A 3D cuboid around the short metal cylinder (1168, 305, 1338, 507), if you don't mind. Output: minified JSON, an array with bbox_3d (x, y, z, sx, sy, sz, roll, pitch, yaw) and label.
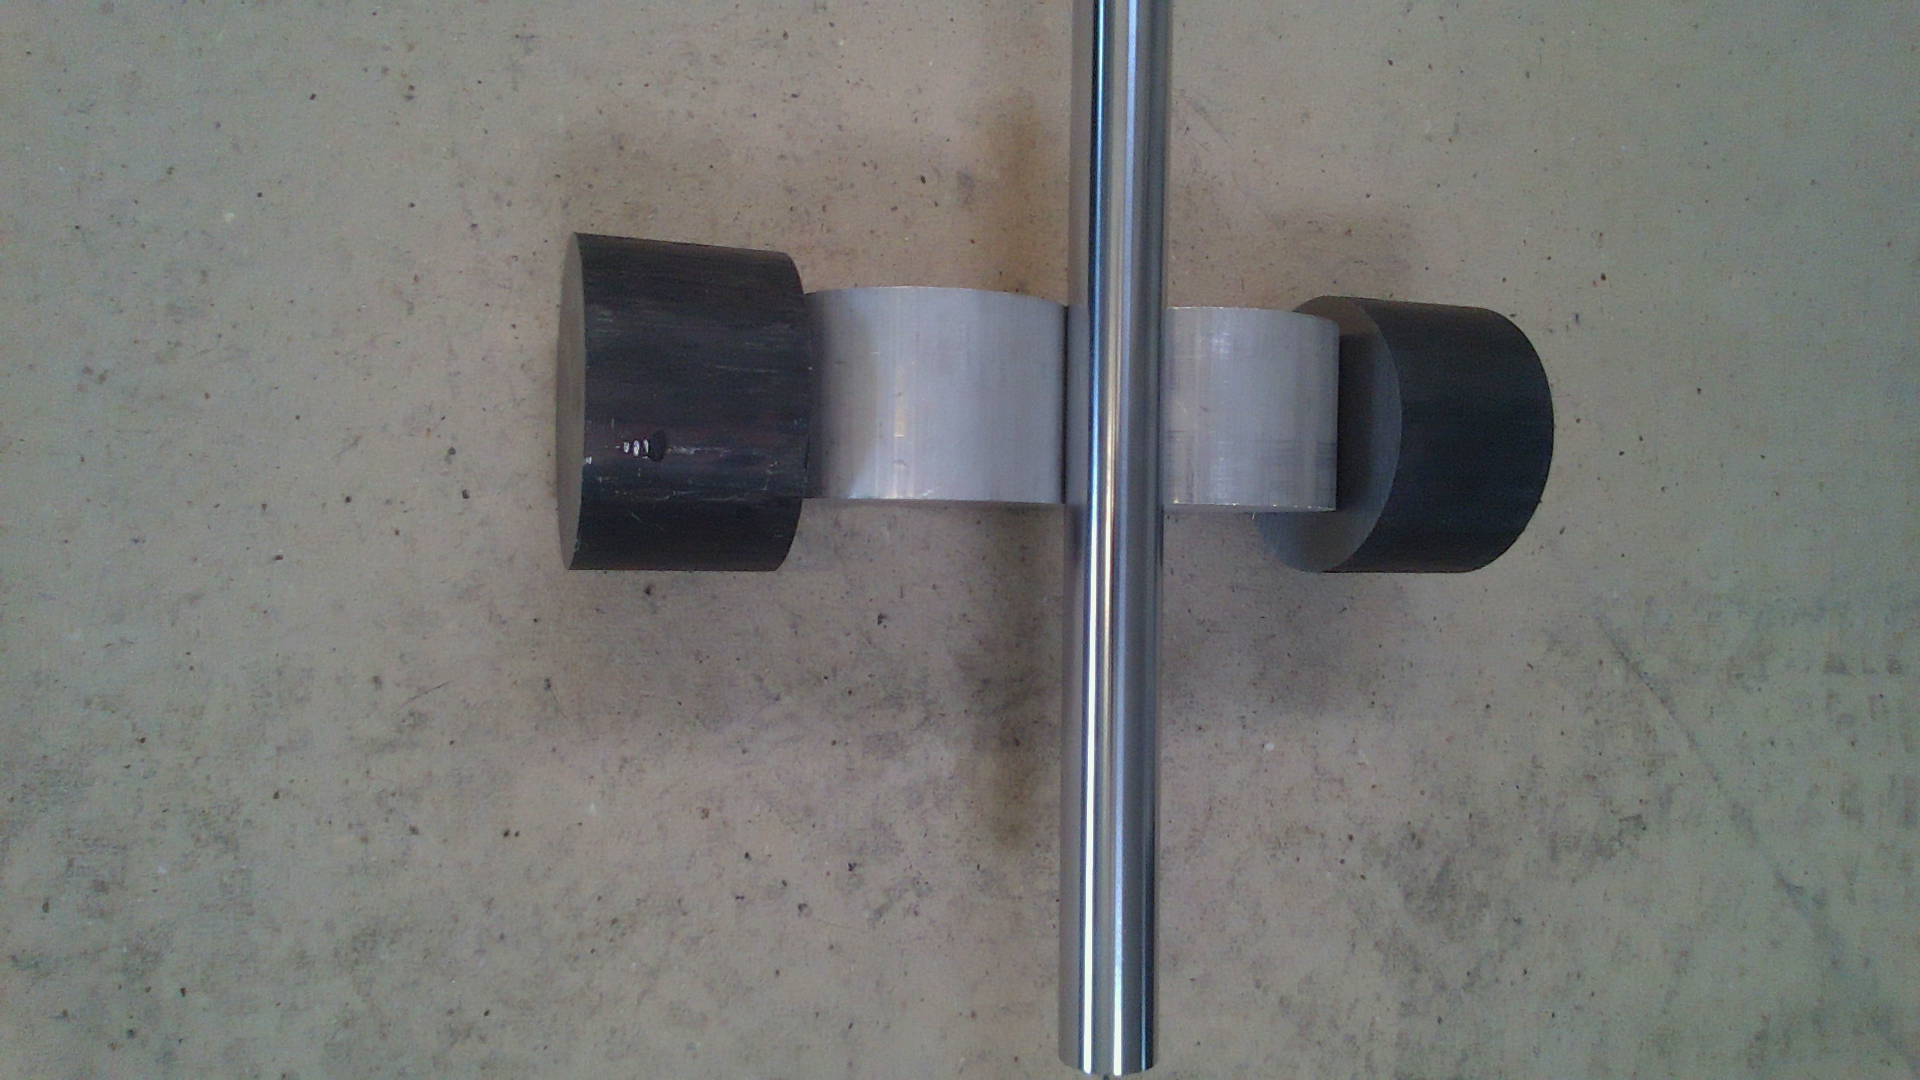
[{"bbox_3d":[0.065,-0.034,0.388,0.080,0.080,0.050,1,90,-20],"label":"short metal cylinder"}]

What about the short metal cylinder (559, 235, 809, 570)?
[{"bbox_3d":[-0.071,-0.033,0.339,0.050,0.080,0.080,1,90,-20],"label":"short metal cylinder"}]

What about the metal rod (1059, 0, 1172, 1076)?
[{"bbox_3d":[0.039,-0.022,0.342,0.025,0.025,0.300,1,90,-20],"label":"metal rod"}]

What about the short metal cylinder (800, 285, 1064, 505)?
[{"bbox_3d":[-0.010,-0.034,0.361,0.080,0.080,0.050,1,90,-20],"label":"short metal cylinder"}]

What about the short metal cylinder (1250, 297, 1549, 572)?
[{"bbox_3d":[0.127,-0.030,0.411,0.050,0.080,0.080,1,90,-20],"label":"short metal cylinder"}]
